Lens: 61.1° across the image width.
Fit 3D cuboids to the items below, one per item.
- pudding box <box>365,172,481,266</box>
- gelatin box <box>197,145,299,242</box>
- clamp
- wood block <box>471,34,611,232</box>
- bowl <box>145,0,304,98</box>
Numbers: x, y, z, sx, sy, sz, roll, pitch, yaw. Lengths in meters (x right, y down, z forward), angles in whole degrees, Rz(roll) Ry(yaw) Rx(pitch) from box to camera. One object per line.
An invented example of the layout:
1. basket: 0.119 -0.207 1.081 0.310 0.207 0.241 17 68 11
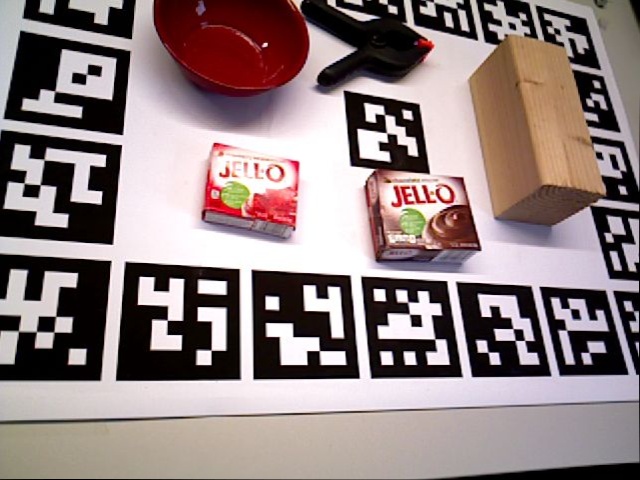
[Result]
1. pudding box: 0.107 -0.019 0.573 0.112 0.039 0.089 3 72 -18
2. gelatin box: -0.068 -0.044 0.517 0.088 0.031 0.072 12 67 -17
3. clamp: 0.042 -0.228 0.642 0.162 0.037 0.121 -6 71 -26
4. wood block: 0.255 -0.125 0.643 0.089 0.093 0.204 7 67 -20
5. bowl: -0.100 -0.206 0.564 0.160 0.056 0.160 7 69 -20
